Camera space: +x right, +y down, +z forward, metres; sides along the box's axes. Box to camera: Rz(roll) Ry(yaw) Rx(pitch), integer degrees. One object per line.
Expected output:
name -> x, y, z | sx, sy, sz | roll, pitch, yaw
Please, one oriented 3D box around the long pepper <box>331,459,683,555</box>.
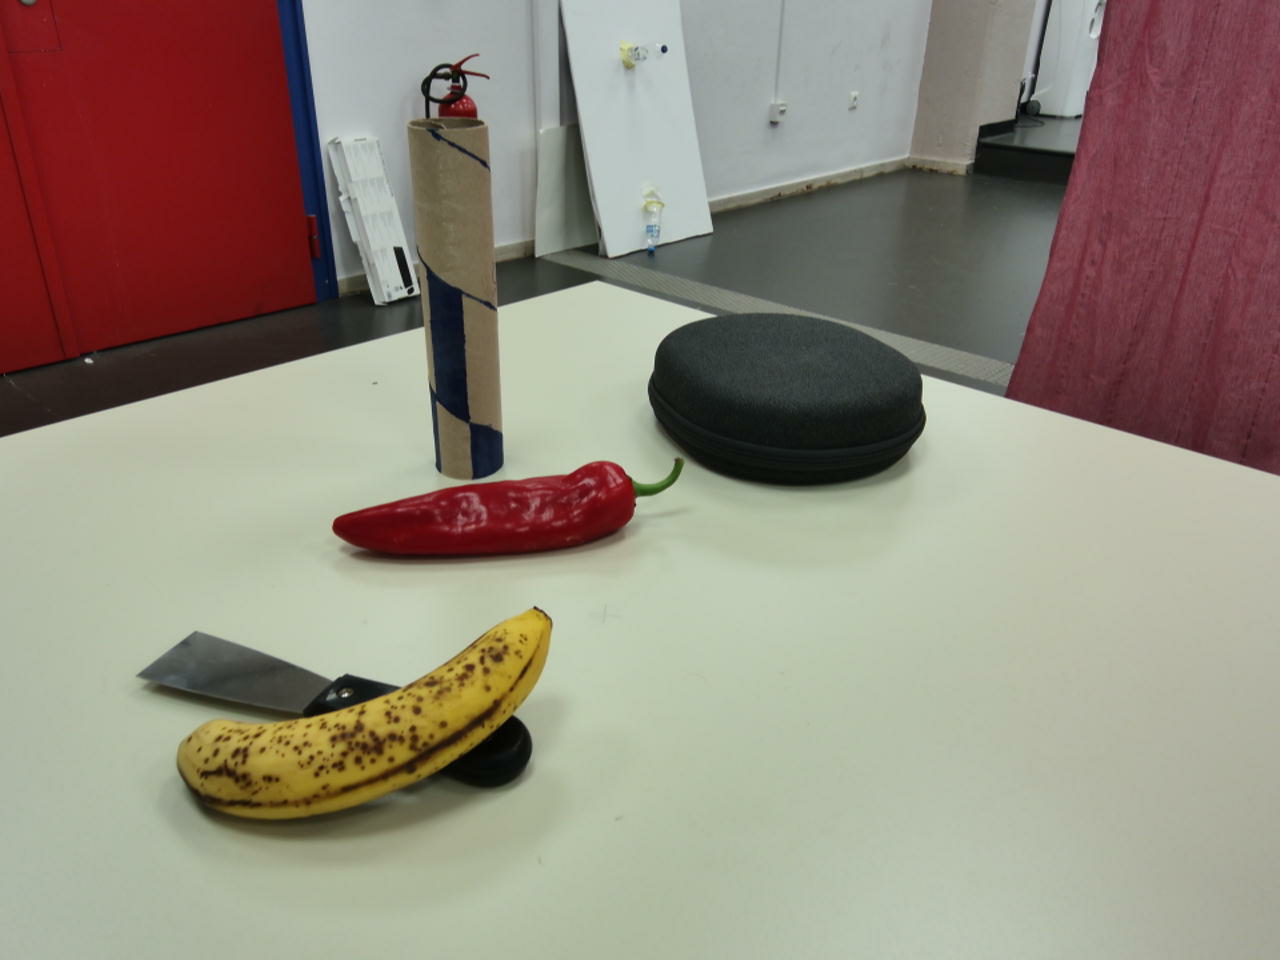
long pepper -> -0.072, 0.017, 0.589 | 0.211, 0.043, 0.050 | -7, 26, -14
